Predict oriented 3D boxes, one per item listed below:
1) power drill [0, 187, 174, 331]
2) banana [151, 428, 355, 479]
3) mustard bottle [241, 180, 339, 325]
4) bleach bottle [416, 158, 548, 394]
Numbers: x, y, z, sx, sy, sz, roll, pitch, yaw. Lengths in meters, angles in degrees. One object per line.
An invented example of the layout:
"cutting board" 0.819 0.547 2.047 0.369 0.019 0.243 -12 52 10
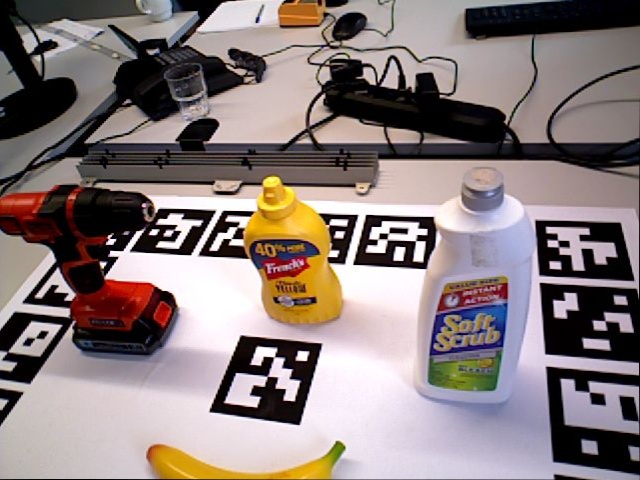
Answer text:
"power drill" -0.230 0.018 0.584 0.185 0.190 0.056 -5 43 13
"banana" -0.067 0.206 0.490 0.198 0.039 0.073 -4 45 13
"mustard bottle" -0.034 0.012 0.589 0.096 0.195 0.057 -3 43 7
"bleach bottle" 0.135 0.036 0.475 0.103 0.255 0.066 8 46 19
